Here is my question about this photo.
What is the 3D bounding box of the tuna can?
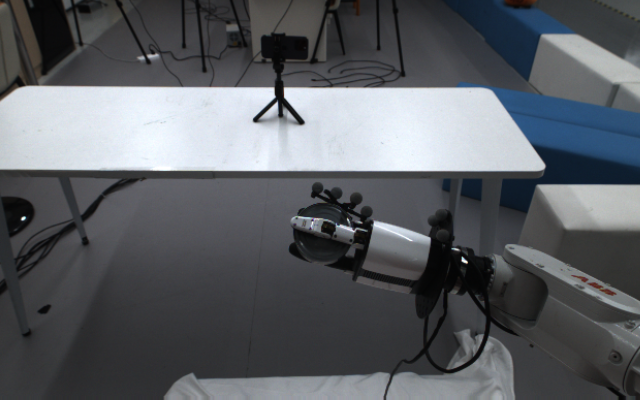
[{"bbox_3d":[0.006,0.047,0.690,0.085,0.034,0.085,0,72,0],"label":"tuna can"}]
